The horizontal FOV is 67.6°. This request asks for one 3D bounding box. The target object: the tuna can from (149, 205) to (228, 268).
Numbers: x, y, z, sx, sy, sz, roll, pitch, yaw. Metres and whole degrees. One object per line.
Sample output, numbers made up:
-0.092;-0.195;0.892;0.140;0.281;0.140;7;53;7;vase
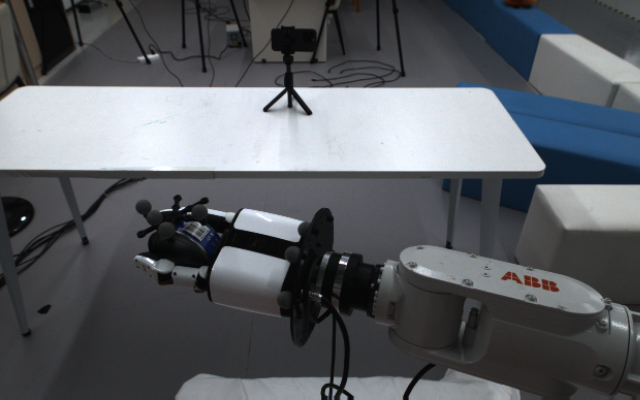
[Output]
-0.155;0.059;0.576;0.085;0.085;0.034;14;40;16;tuna can
